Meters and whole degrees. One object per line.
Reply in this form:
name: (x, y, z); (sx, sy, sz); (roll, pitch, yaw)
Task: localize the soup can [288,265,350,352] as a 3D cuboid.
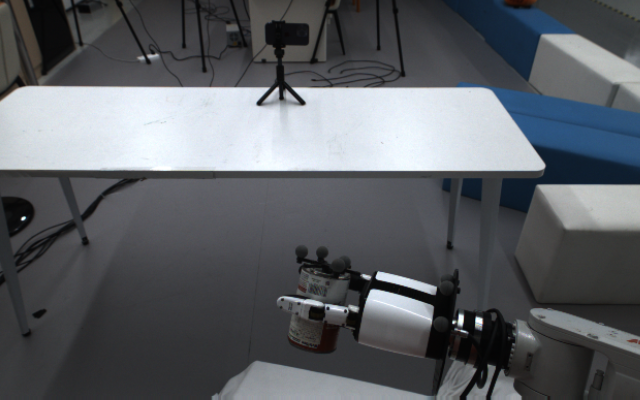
soup can: (0.001, 0.142, 0.640); (0.067, 0.101, 0.067); (12, 2, 0)
